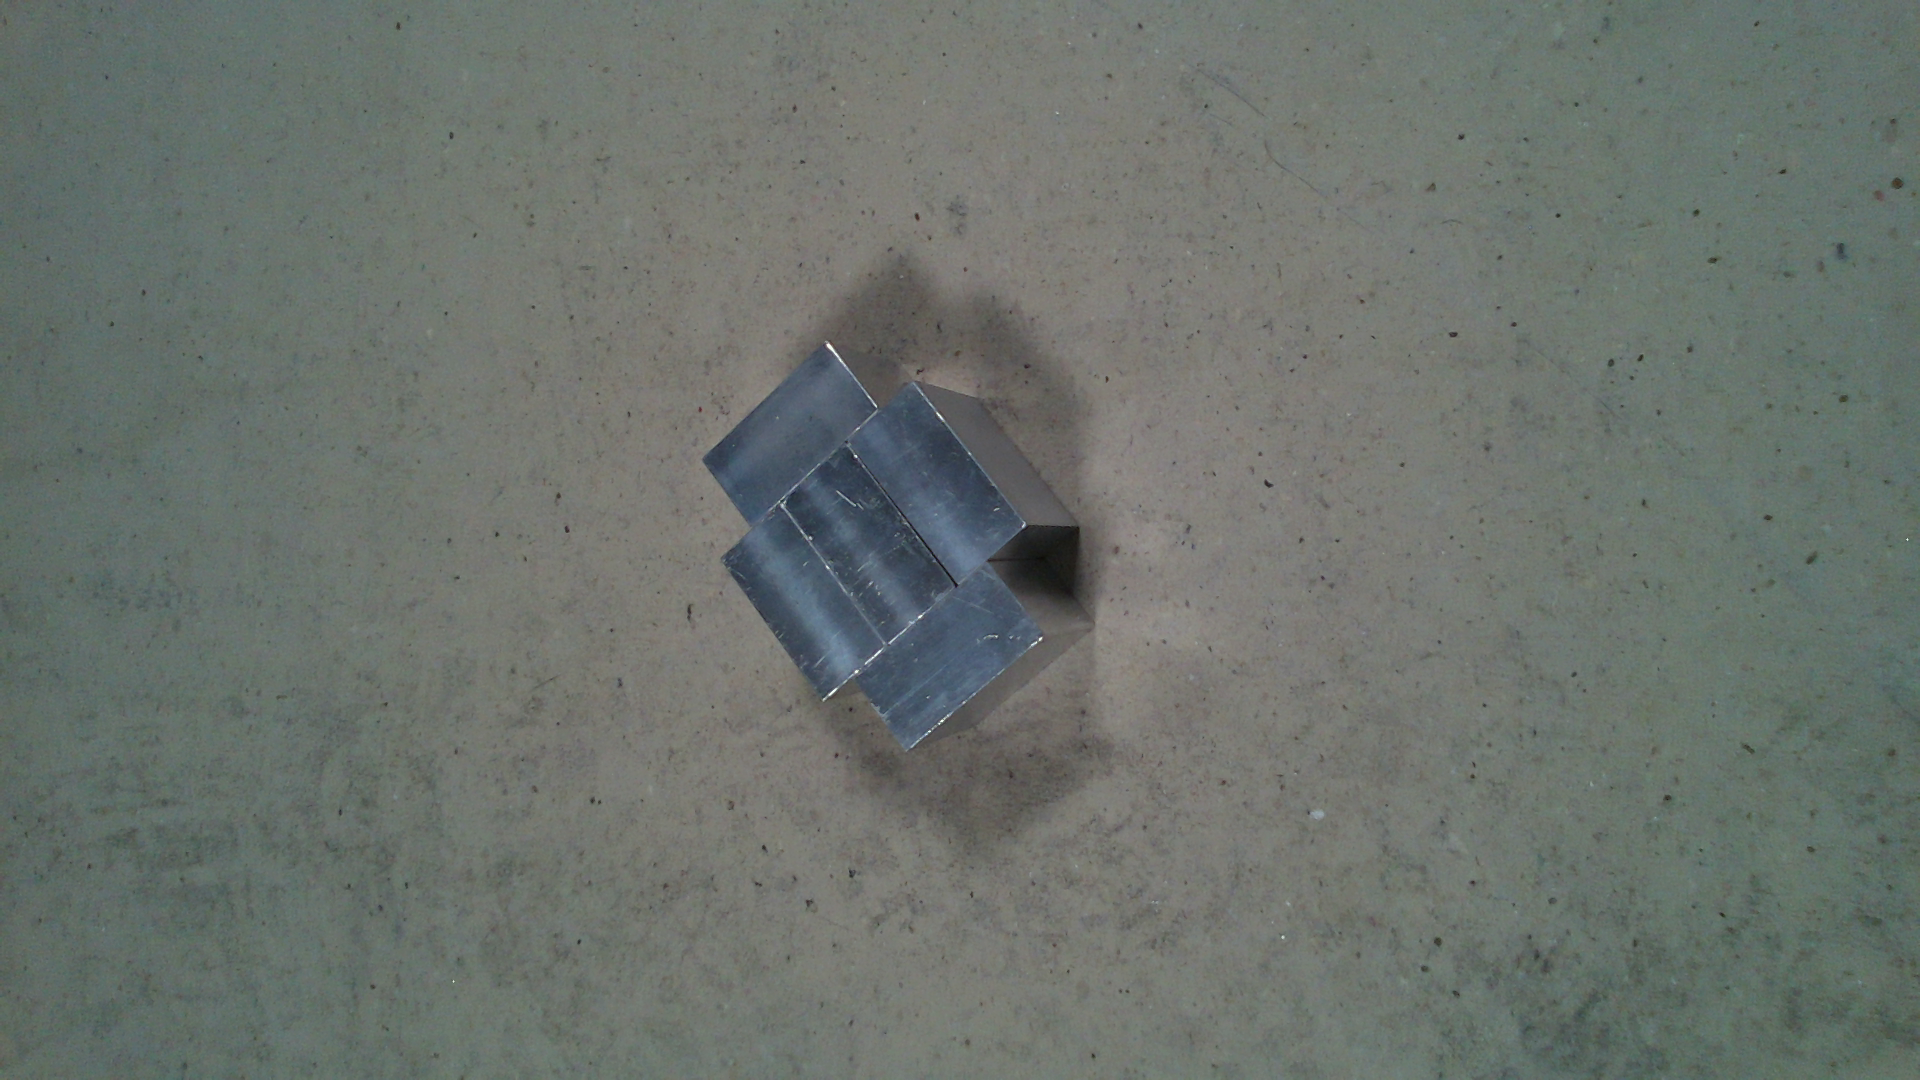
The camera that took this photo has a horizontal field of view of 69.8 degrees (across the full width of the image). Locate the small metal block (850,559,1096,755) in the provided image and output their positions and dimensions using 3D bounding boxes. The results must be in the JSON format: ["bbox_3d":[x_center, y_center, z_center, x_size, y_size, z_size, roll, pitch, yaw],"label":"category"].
[{"bbox_3d":[0.005,0.031,0.380,0.050,0.050,0.025,-41,77,15],"label":"small metal block"}]

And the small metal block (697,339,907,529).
[{"bbox_3d":[-0.039,-0.029,0.396,0.050,0.050,0.025,-41,77,15],"label":"small metal block"}]

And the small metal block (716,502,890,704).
[{"bbox_3d":[-0.035,0.017,0.395,0.025,0.050,0.050,-42,77,15],"label":"small metal block"}]

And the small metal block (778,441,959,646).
[{"bbox_3d":[-0.017,0.001,0.388,0.025,0.050,0.050,-42,77,15],"label":"small metal block"}]

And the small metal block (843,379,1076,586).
[{"bbox_3d":[0.002,-0.015,0.382,0.025,0.050,0.050,-42,77,15],"label":"small metal block"}]
